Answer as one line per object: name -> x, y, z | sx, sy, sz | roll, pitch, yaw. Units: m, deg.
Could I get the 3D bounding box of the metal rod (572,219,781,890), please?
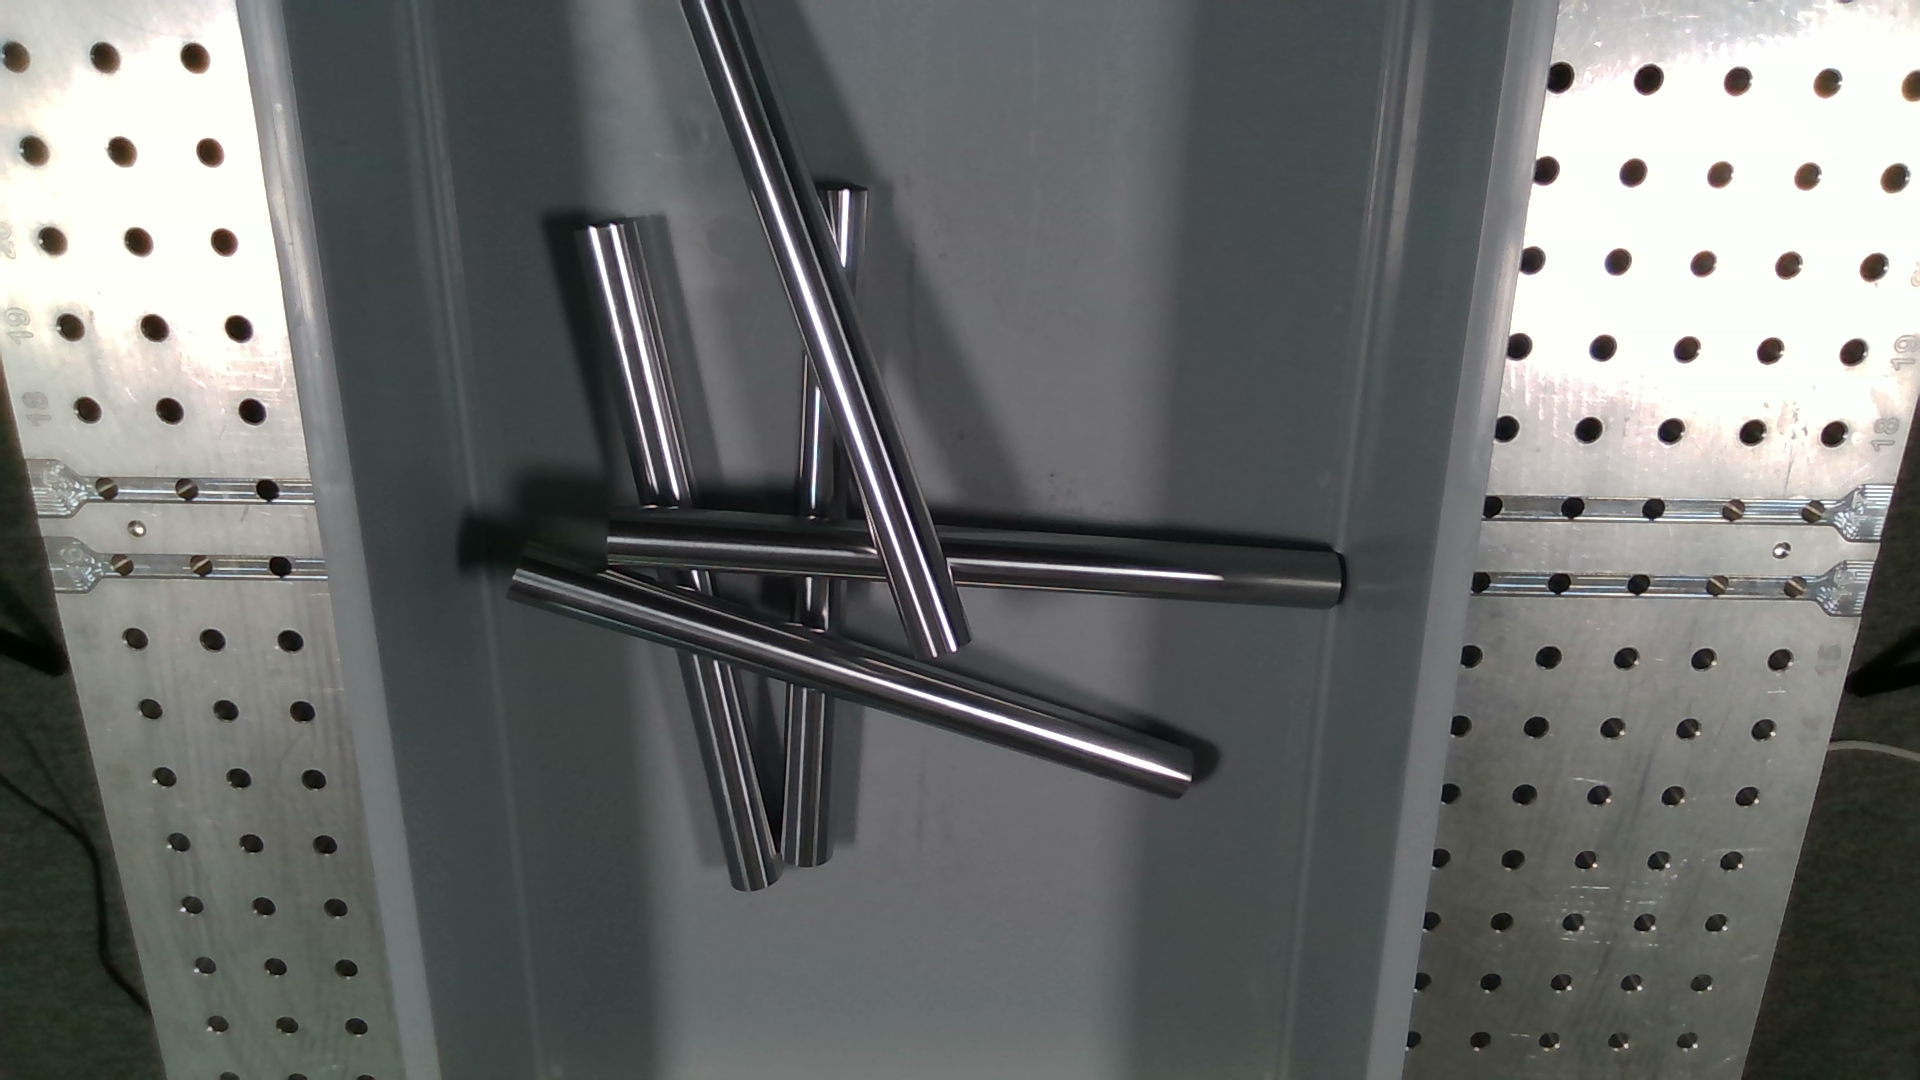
metal rod -> -0.117, 0.016, 0.589 | 0.025, 0.025, 0.301 | -8, 110, 3

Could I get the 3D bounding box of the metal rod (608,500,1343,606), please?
metal rod -> 0.010, 0.006, 0.567 | 0.300, 0.025, 0.025 | 4, 110, -8

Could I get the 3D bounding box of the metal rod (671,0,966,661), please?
metal rod -> -0.056, -0.095, 0.522 | 0.025, 0.025, 0.300 | -17, 104, 6

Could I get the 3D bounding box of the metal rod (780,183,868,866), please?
metal rod -> -0.060, 0.003, 0.585 | 0.025, 0.025, 0.301 | 4, 110, -1

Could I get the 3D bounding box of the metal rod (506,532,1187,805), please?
metal rod -> -0.039, 0.058, 0.584 | 0.300, 0.025, 0.025 | 20, 109, -15
